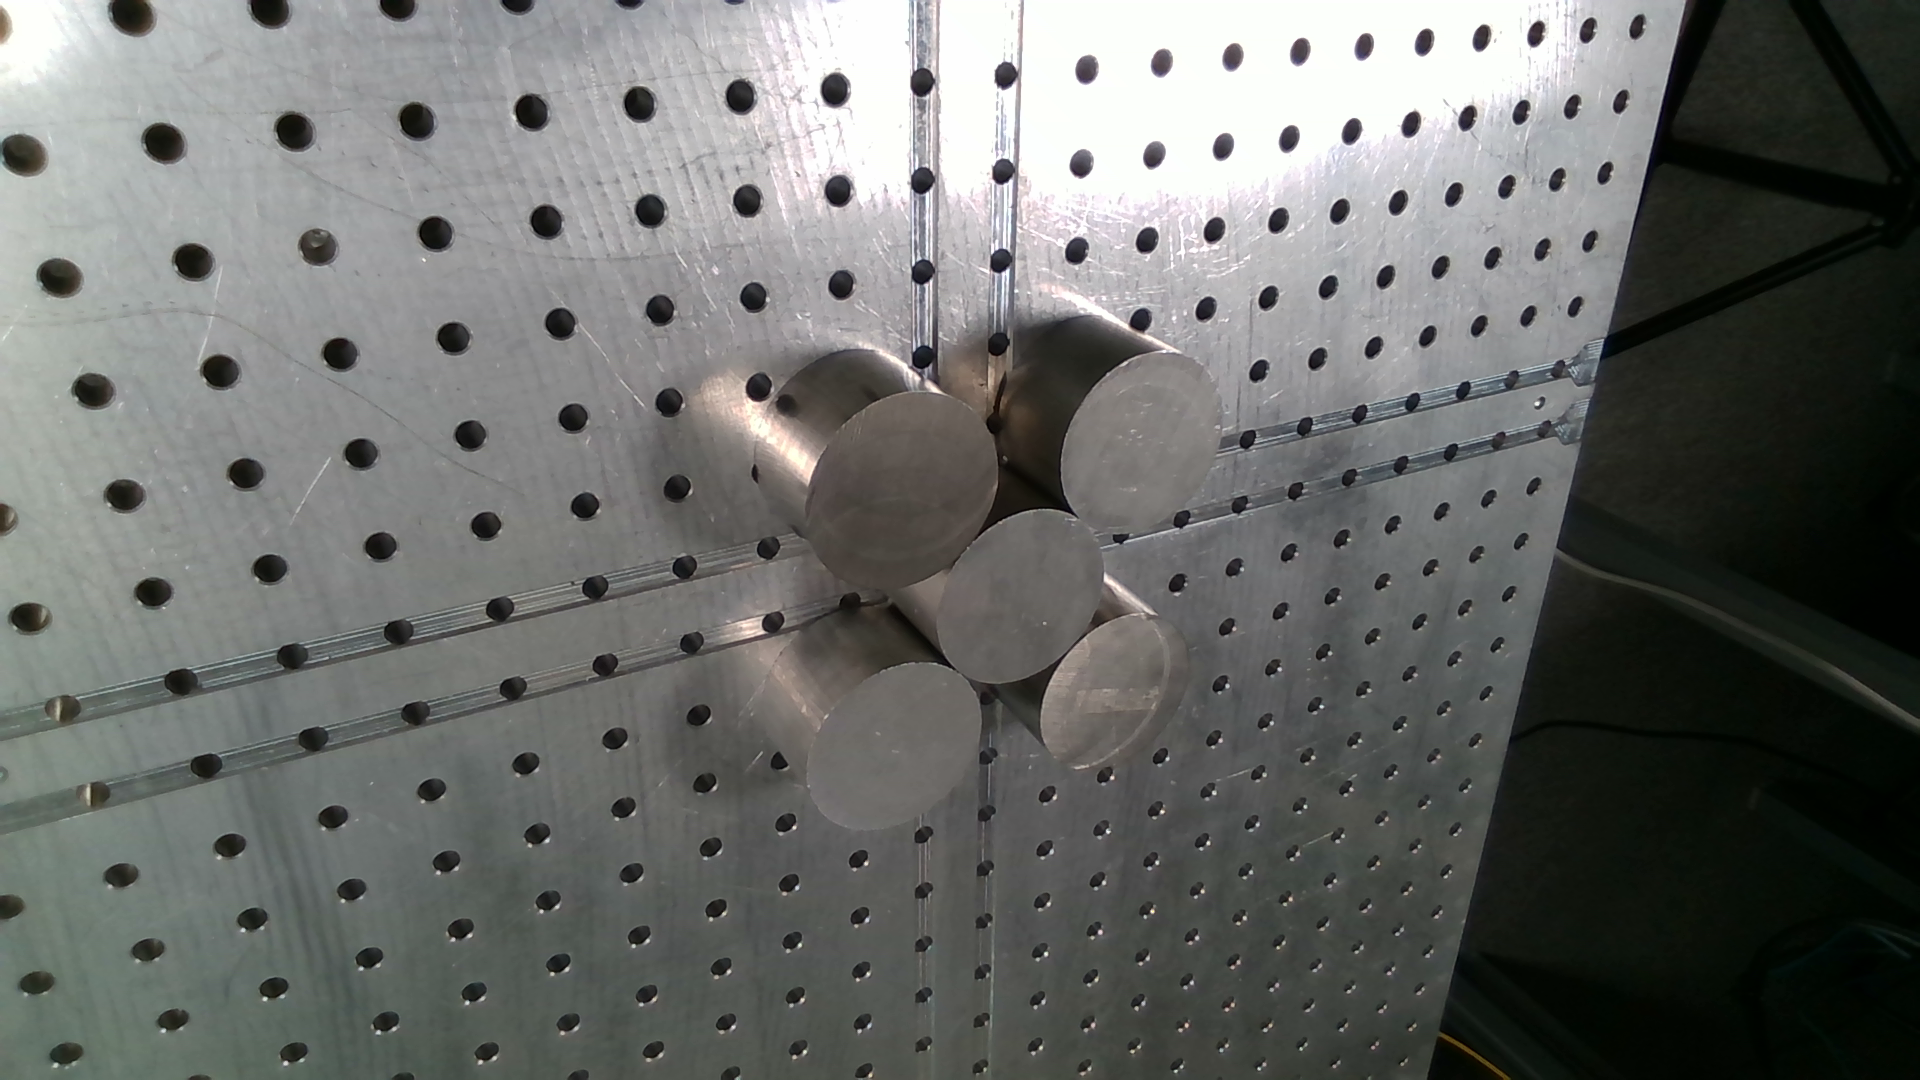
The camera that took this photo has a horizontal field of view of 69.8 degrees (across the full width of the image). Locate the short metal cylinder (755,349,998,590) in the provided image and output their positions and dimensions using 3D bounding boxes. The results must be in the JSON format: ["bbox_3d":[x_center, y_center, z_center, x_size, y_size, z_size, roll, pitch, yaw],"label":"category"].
[{"bbox_3d":[-0.032,-0.028,0.531,0.080,0.050,0.080,-14,122,-25],"label":"short metal cylinder"}]

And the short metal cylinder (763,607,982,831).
[{"bbox_3d":[-0.038,0.075,0.585,0.080,0.050,0.080,-14,122,-25],"label":"short metal cylinder"}]

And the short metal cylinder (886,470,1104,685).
[{"bbox_3d":[0.014,0.014,0.583,0.080,0.050,0.080,-14,122,-25],"label":"short metal cylinder"}]

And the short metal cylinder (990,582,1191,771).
[{"bbox_3d":[0.058,0.058,0.632,0.080,0.050,0.080,-14,122,-25],"label":"short metal cylinder"}]

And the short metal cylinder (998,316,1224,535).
[{"bbox_3d":[0.063,-0.049,0.579,0.080,0.050,0.080,-14,122,-25],"label":"short metal cylinder"}]
